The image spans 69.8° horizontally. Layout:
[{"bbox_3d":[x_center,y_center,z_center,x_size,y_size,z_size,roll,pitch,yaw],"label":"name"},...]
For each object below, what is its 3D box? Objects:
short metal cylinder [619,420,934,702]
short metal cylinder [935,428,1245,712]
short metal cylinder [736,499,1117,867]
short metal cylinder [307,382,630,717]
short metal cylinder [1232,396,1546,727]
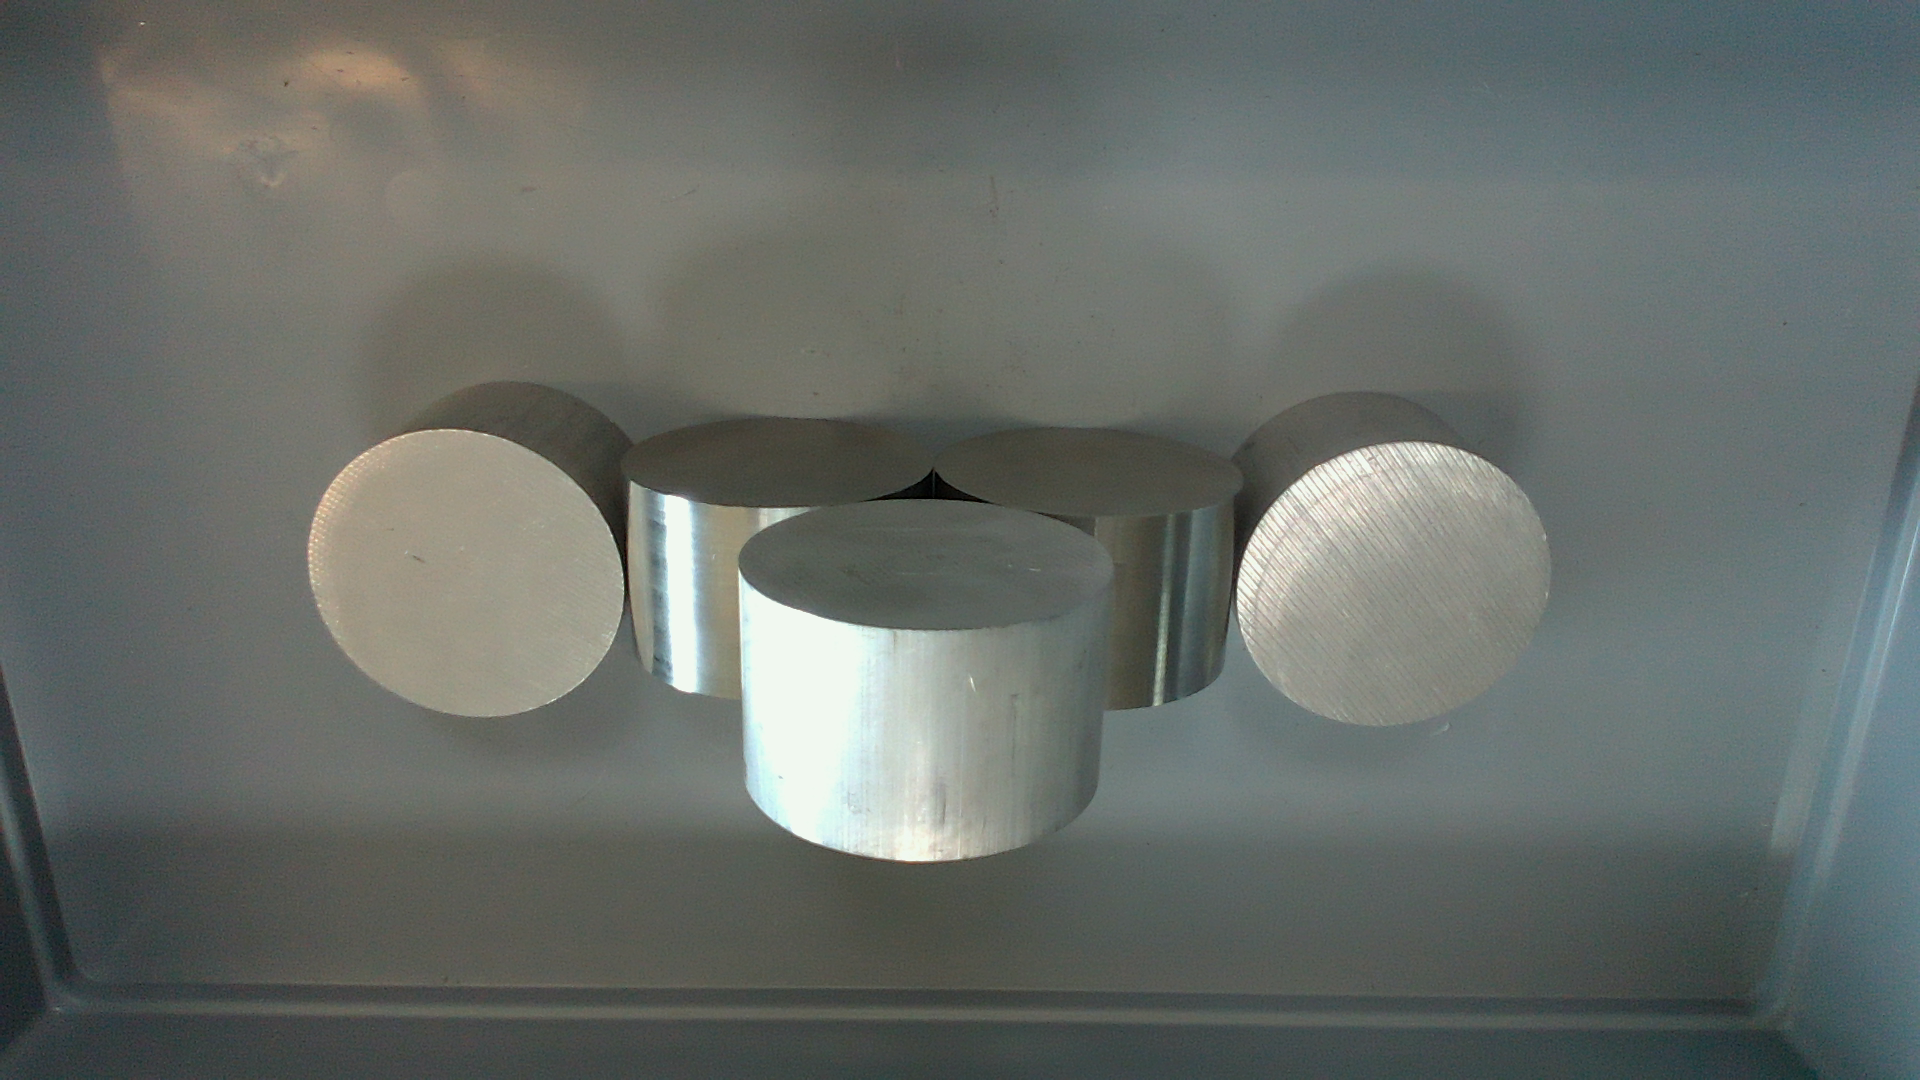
[{"bbox_3d":[-0.047,0.003,0.364,0.080,0.080,0.050,2,110,-1],"label":"short metal cylinder"},{"bbox_3d":[0.033,0.005,0.365,0.080,0.080,0.050,2,110,-1],"label":"short metal cylinder"},{"bbox_3d":[-0.008,0.027,0.300,0.080,0.080,0.050,2,110,-1],"label":"short metal cylinder"},{"bbox_3d":[-0.128,0.001,0.379,0.080,0.050,0.080,0,110,0],"label":"short metal cylinder"},{"bbox_3d":[0.112,0.004,0.381,0.080,0.050,0.080,0,110,0],"label":"short metal cylinder"}]
